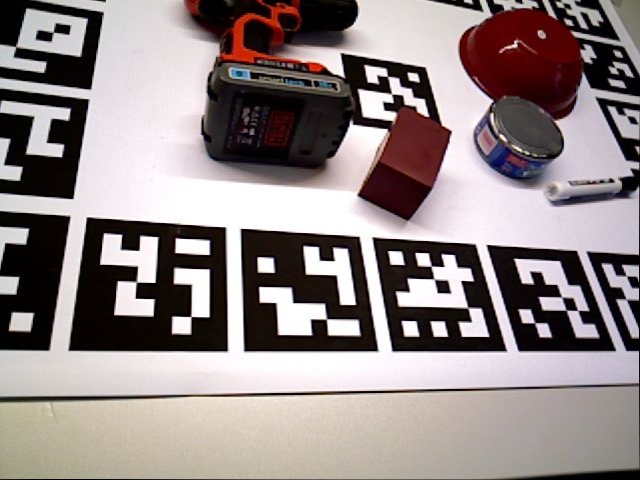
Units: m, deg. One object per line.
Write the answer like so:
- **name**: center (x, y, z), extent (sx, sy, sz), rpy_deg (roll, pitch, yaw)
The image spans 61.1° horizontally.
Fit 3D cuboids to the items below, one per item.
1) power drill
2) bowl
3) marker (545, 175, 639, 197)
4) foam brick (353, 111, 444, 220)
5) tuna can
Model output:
- **power drill**: center (-0.048, -0.176, 0.499), extent (0.182, 0.059, 0.185), rpy_deg (4, 57, -21)
- **bowl**: center (0.234, -0.218, 0.630), extent (0.160, 0.056, 0.159), rpy_deg (7, 52, -10)
- **marker**: center (0.284, -0.056, 0.559), extent (0.119, 0.020, 0.019), rpy_deg (-5, 63, -22)
- **foam brick**: center (0.070, -0.068, 0.482), extent (0.051, 0.054, 0.076), rpy_deg (25, 57, -5)
- **tuna can**: center (0.200, -0.110, 0.554), extent (0.085, 0.034, 0.084), rpy_deg (10, 58, -16)
